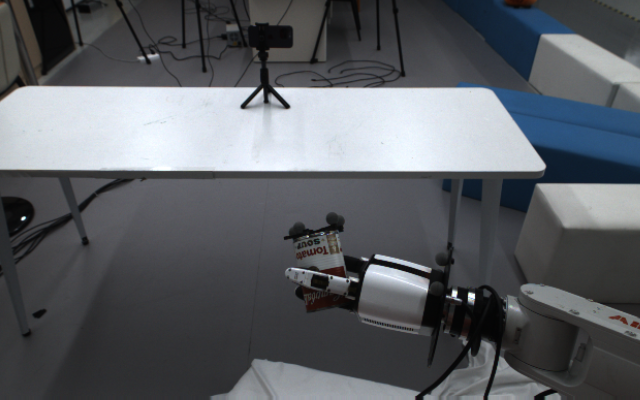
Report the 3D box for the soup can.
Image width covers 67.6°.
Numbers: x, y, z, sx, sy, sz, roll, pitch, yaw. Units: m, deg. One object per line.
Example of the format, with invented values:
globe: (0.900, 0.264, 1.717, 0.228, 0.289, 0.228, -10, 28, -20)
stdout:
soup can: (0.005, 0.100, 0.674, 0.067, 0.067, 0.101, -10, 80, -16)
